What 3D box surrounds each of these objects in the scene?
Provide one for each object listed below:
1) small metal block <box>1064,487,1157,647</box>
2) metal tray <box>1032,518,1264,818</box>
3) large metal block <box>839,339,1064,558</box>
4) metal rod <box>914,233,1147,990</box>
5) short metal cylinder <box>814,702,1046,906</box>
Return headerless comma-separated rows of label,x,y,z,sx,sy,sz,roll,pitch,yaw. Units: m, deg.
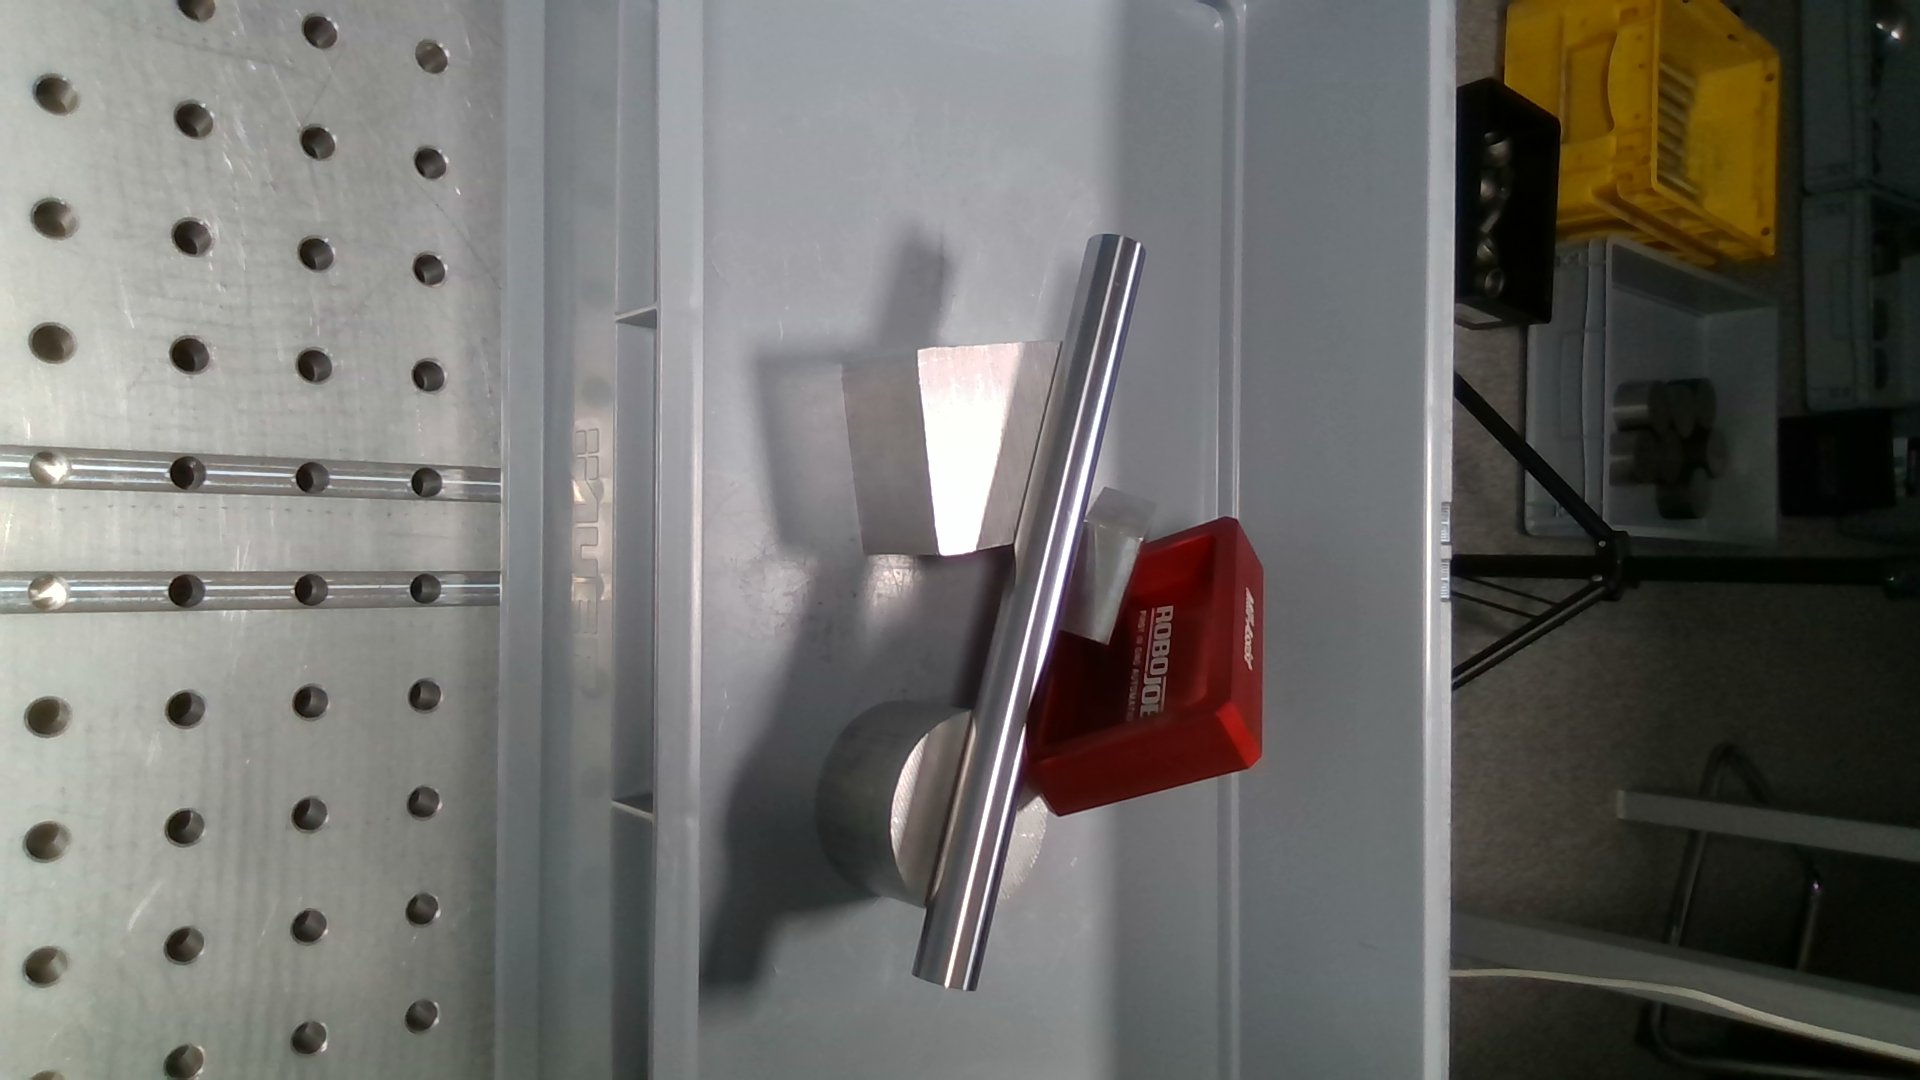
small metal block,0.063,0.011,0.591,0.050,0.025,0.050,-50,157,-66
metal tray,0.078,0.050,0.573,0.030,0.090,0.130,57,27,-26
large metal block,0.002,-0.038,0.567,0.080,0.050,0.080,-10,97,-40
metal rod,0.030,0.021,0.540,0.025,0.025,0.300,23,75,-38
short metal cylinder,-0.011,0.107,0.556,0.080,0.050,0.080,0,90,-40
